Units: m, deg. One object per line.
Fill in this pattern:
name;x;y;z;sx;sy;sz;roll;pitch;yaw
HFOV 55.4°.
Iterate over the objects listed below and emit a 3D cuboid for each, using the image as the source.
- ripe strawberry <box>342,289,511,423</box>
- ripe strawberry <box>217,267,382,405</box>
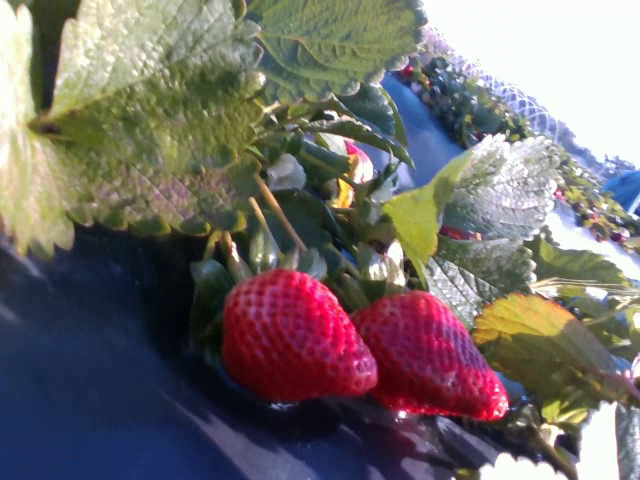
ripe strawberry;0.036;0.040;0.183;0.052;0.046;0.057;-17;35;-39
ripe strawberry;-0.004;0.027;0.146;0.051;0.037;0.043;29;41;34
